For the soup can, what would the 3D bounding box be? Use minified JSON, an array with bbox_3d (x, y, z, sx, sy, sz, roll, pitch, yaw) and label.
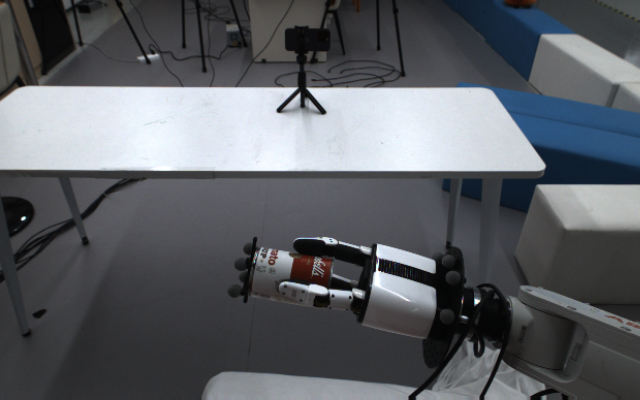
[{"bbox_3d":[-0.034,0.103,0.635,0.101,0.067,0.067,10,35,0],"label":"soup can"}]
